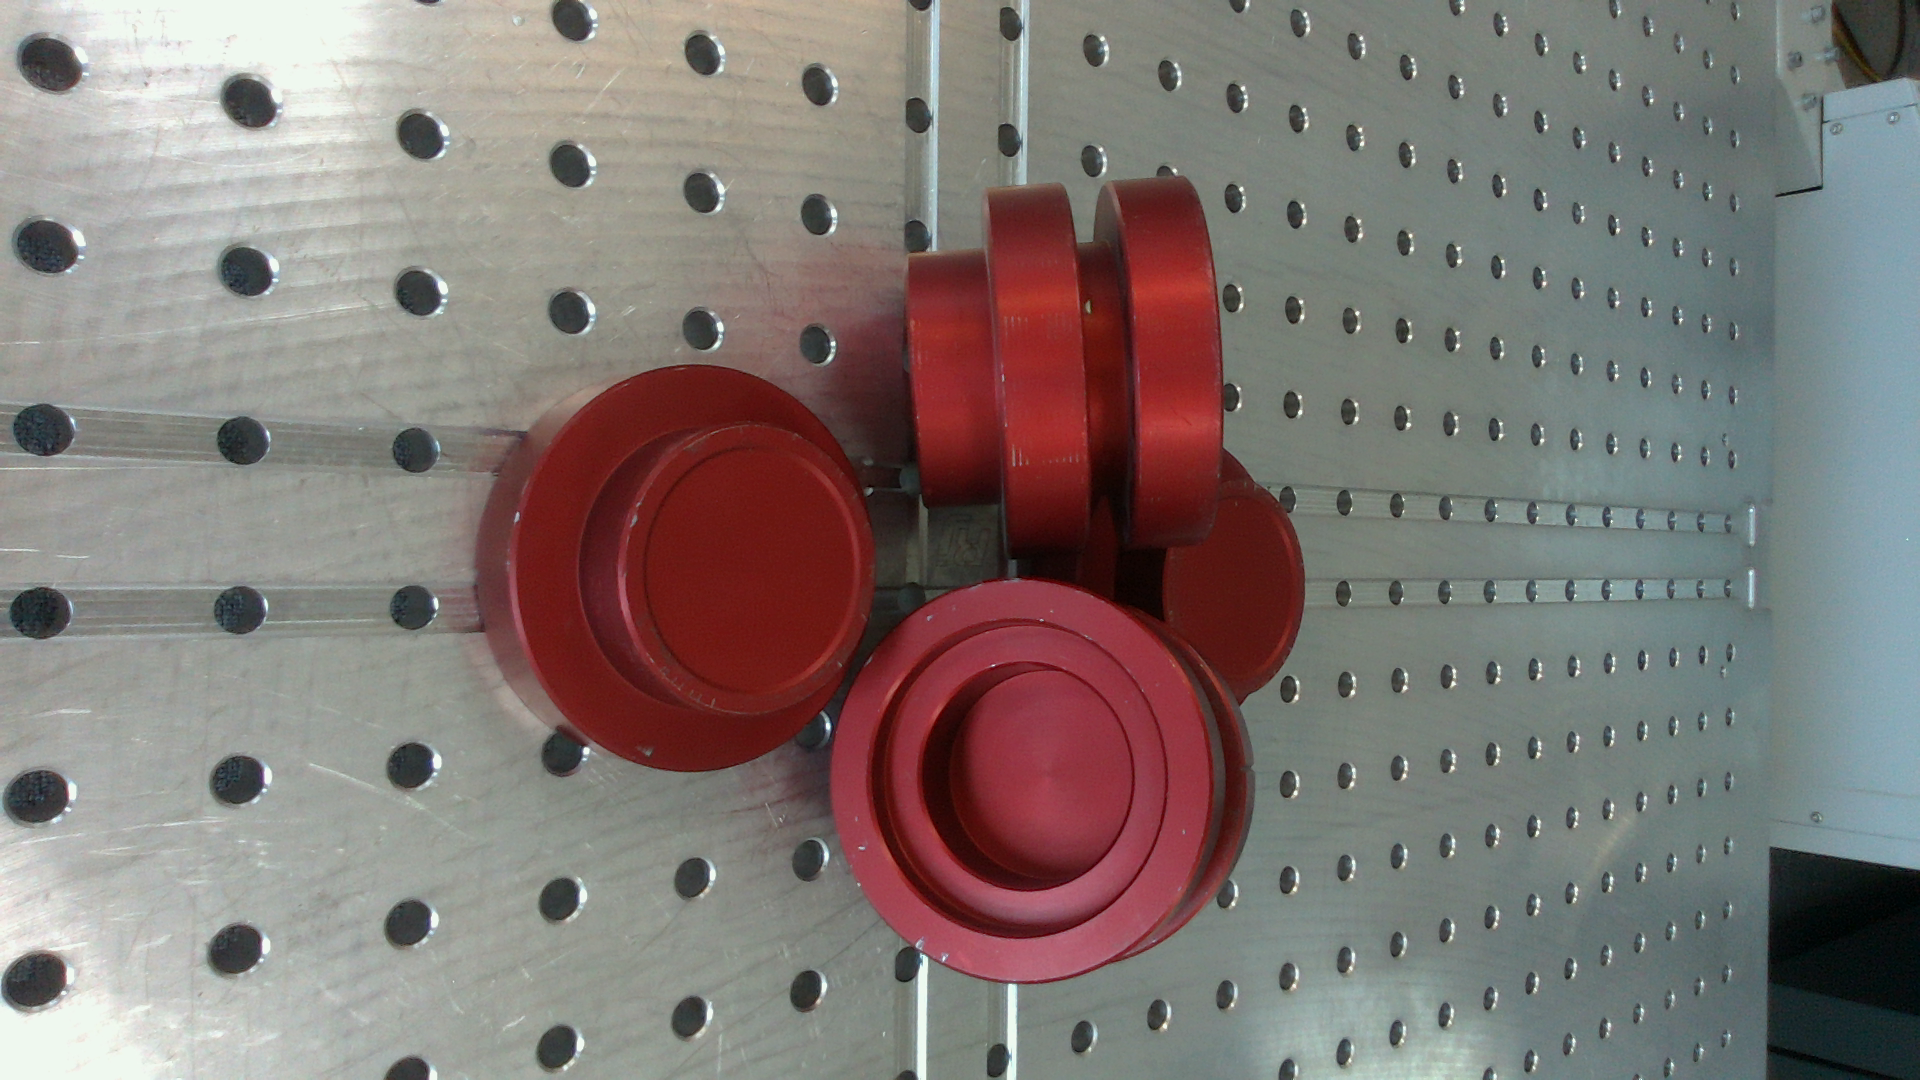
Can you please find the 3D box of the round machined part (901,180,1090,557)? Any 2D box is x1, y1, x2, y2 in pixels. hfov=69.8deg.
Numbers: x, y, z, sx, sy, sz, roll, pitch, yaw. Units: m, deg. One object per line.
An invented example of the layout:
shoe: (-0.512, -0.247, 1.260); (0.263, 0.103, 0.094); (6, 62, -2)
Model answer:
round machined part: (0.008, -0.044, 0.366); (0.042, 0.098, 0.098); (-4, 94, 0)

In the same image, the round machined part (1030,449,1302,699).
round machined part: (0.072, 0.014, 0.441); (0.098, 0.042, 0.098); (0, 90, -40)

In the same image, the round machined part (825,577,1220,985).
round machined part: (0.019, 0.060, 0.354); (0.042, 0.098, 0.098); (25, 71, -70)

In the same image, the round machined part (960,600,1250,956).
round machined part: (0.032, 0.065, 0.383); (0.042, 0.098, 0.098); (26, 70, -70)

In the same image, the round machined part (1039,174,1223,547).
round machined part: (0.040, -0.046, 0.369); (0.042, 0.098, 0.098); (-4, 94, 0)

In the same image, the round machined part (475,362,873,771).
round machined part: (-0.060, 0.006, 0.330); (0.098, 0.042, 0.098); (0, 90, -40)
